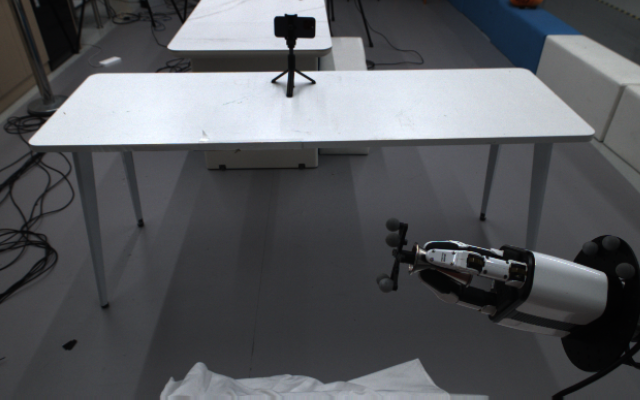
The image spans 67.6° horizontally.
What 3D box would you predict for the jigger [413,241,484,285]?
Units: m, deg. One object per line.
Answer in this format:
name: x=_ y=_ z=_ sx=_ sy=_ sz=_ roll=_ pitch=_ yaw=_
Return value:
jigger: x=0.150 y=0.073 z=0.576 sx=0.071 sy=0.043 sz=0.043 roll=11 pitch=35 yaw=2
